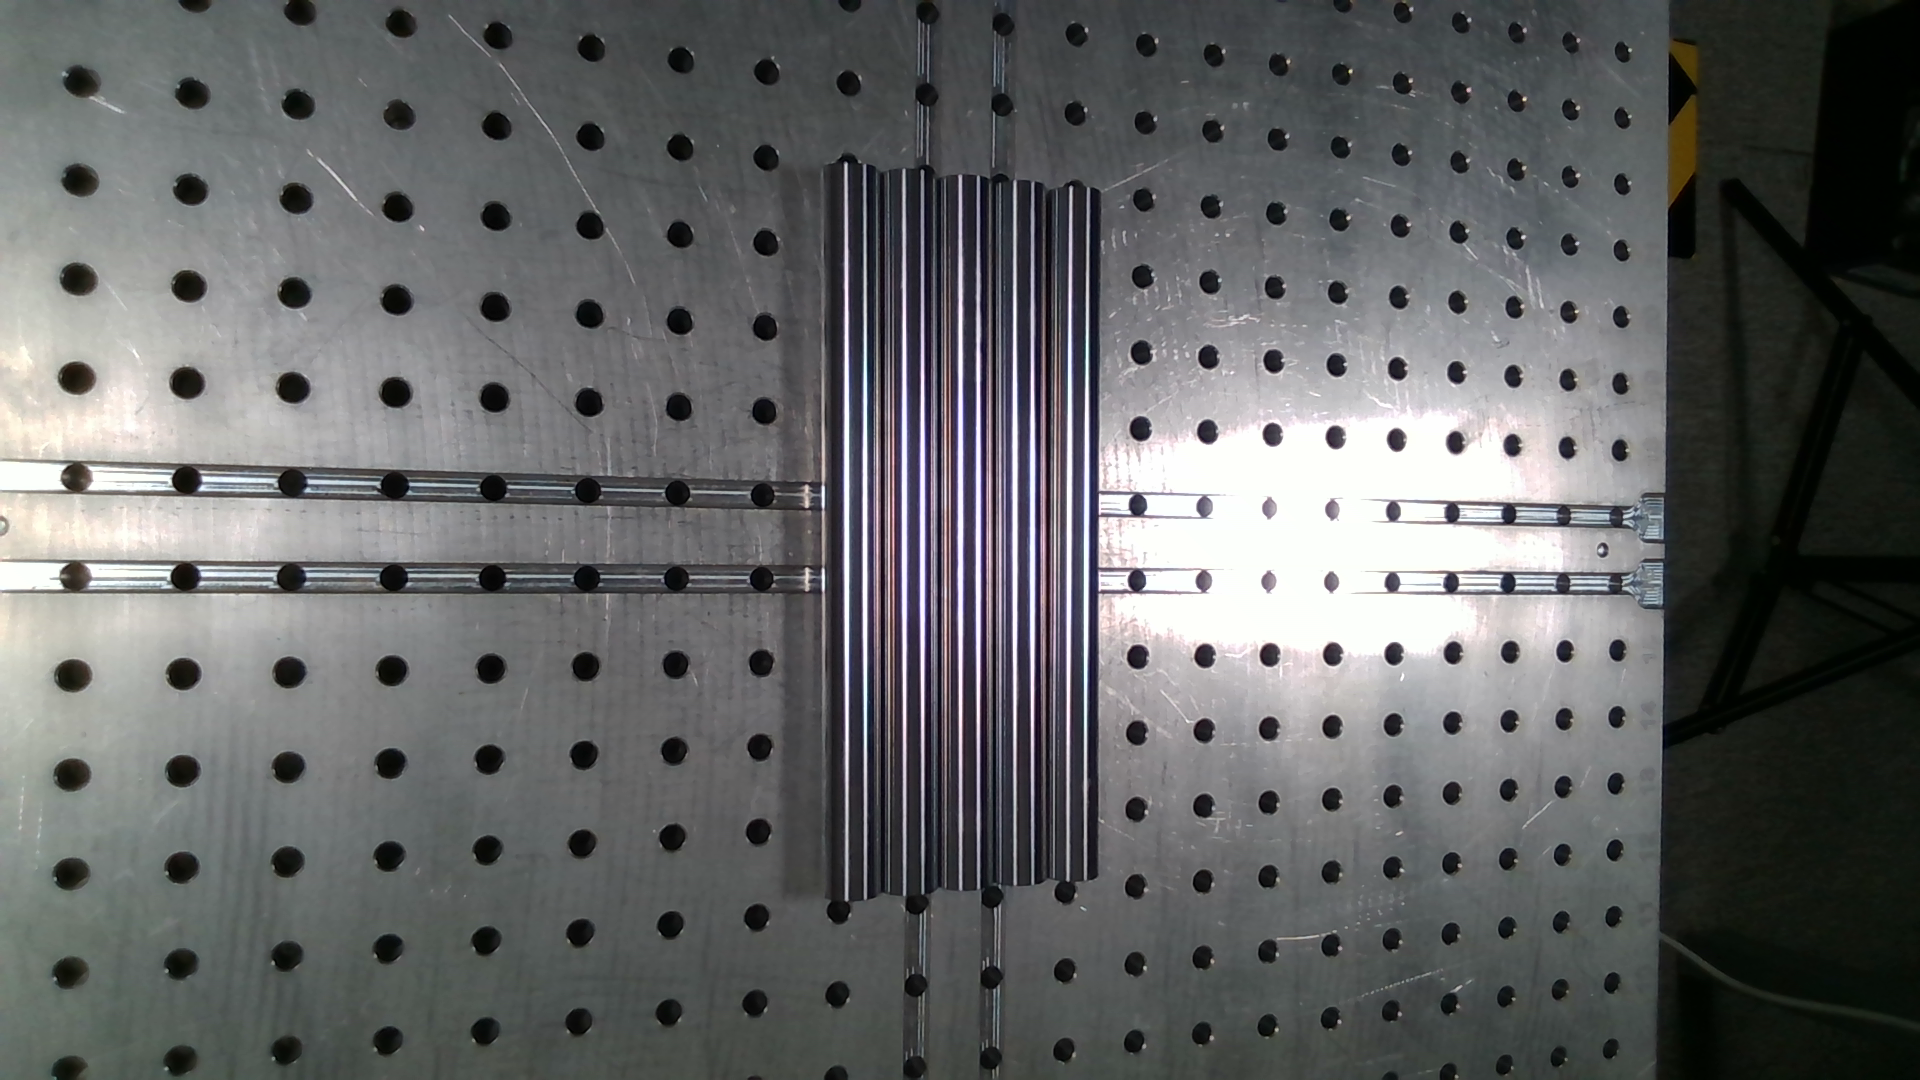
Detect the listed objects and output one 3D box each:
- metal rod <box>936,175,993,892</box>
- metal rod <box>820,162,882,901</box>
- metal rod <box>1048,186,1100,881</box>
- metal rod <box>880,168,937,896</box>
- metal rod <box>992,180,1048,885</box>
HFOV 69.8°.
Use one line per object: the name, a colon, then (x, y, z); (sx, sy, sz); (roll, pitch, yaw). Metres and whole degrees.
metal rod: (0.001, -0.002, 0.588); (0.025, 0.025, 0.300); (0, 90, -20)
metal rod: (-0.045, -0.003, 0.571); (0.025, 0.025, 0.300); (0, 90, -20)
metal rod: (0.049, -0.003, 0.606); (0.025, 0.025, 0.300); (0, 90, -20)
metal rod: (-0.023, -0.003, 0.580); (0.025, 0.025, 0.300); (0, 90, -20)
metal rod: (0.025, -0.003, 0.598); (0.025, 0.025, 0.300); (0, 90, -20)
